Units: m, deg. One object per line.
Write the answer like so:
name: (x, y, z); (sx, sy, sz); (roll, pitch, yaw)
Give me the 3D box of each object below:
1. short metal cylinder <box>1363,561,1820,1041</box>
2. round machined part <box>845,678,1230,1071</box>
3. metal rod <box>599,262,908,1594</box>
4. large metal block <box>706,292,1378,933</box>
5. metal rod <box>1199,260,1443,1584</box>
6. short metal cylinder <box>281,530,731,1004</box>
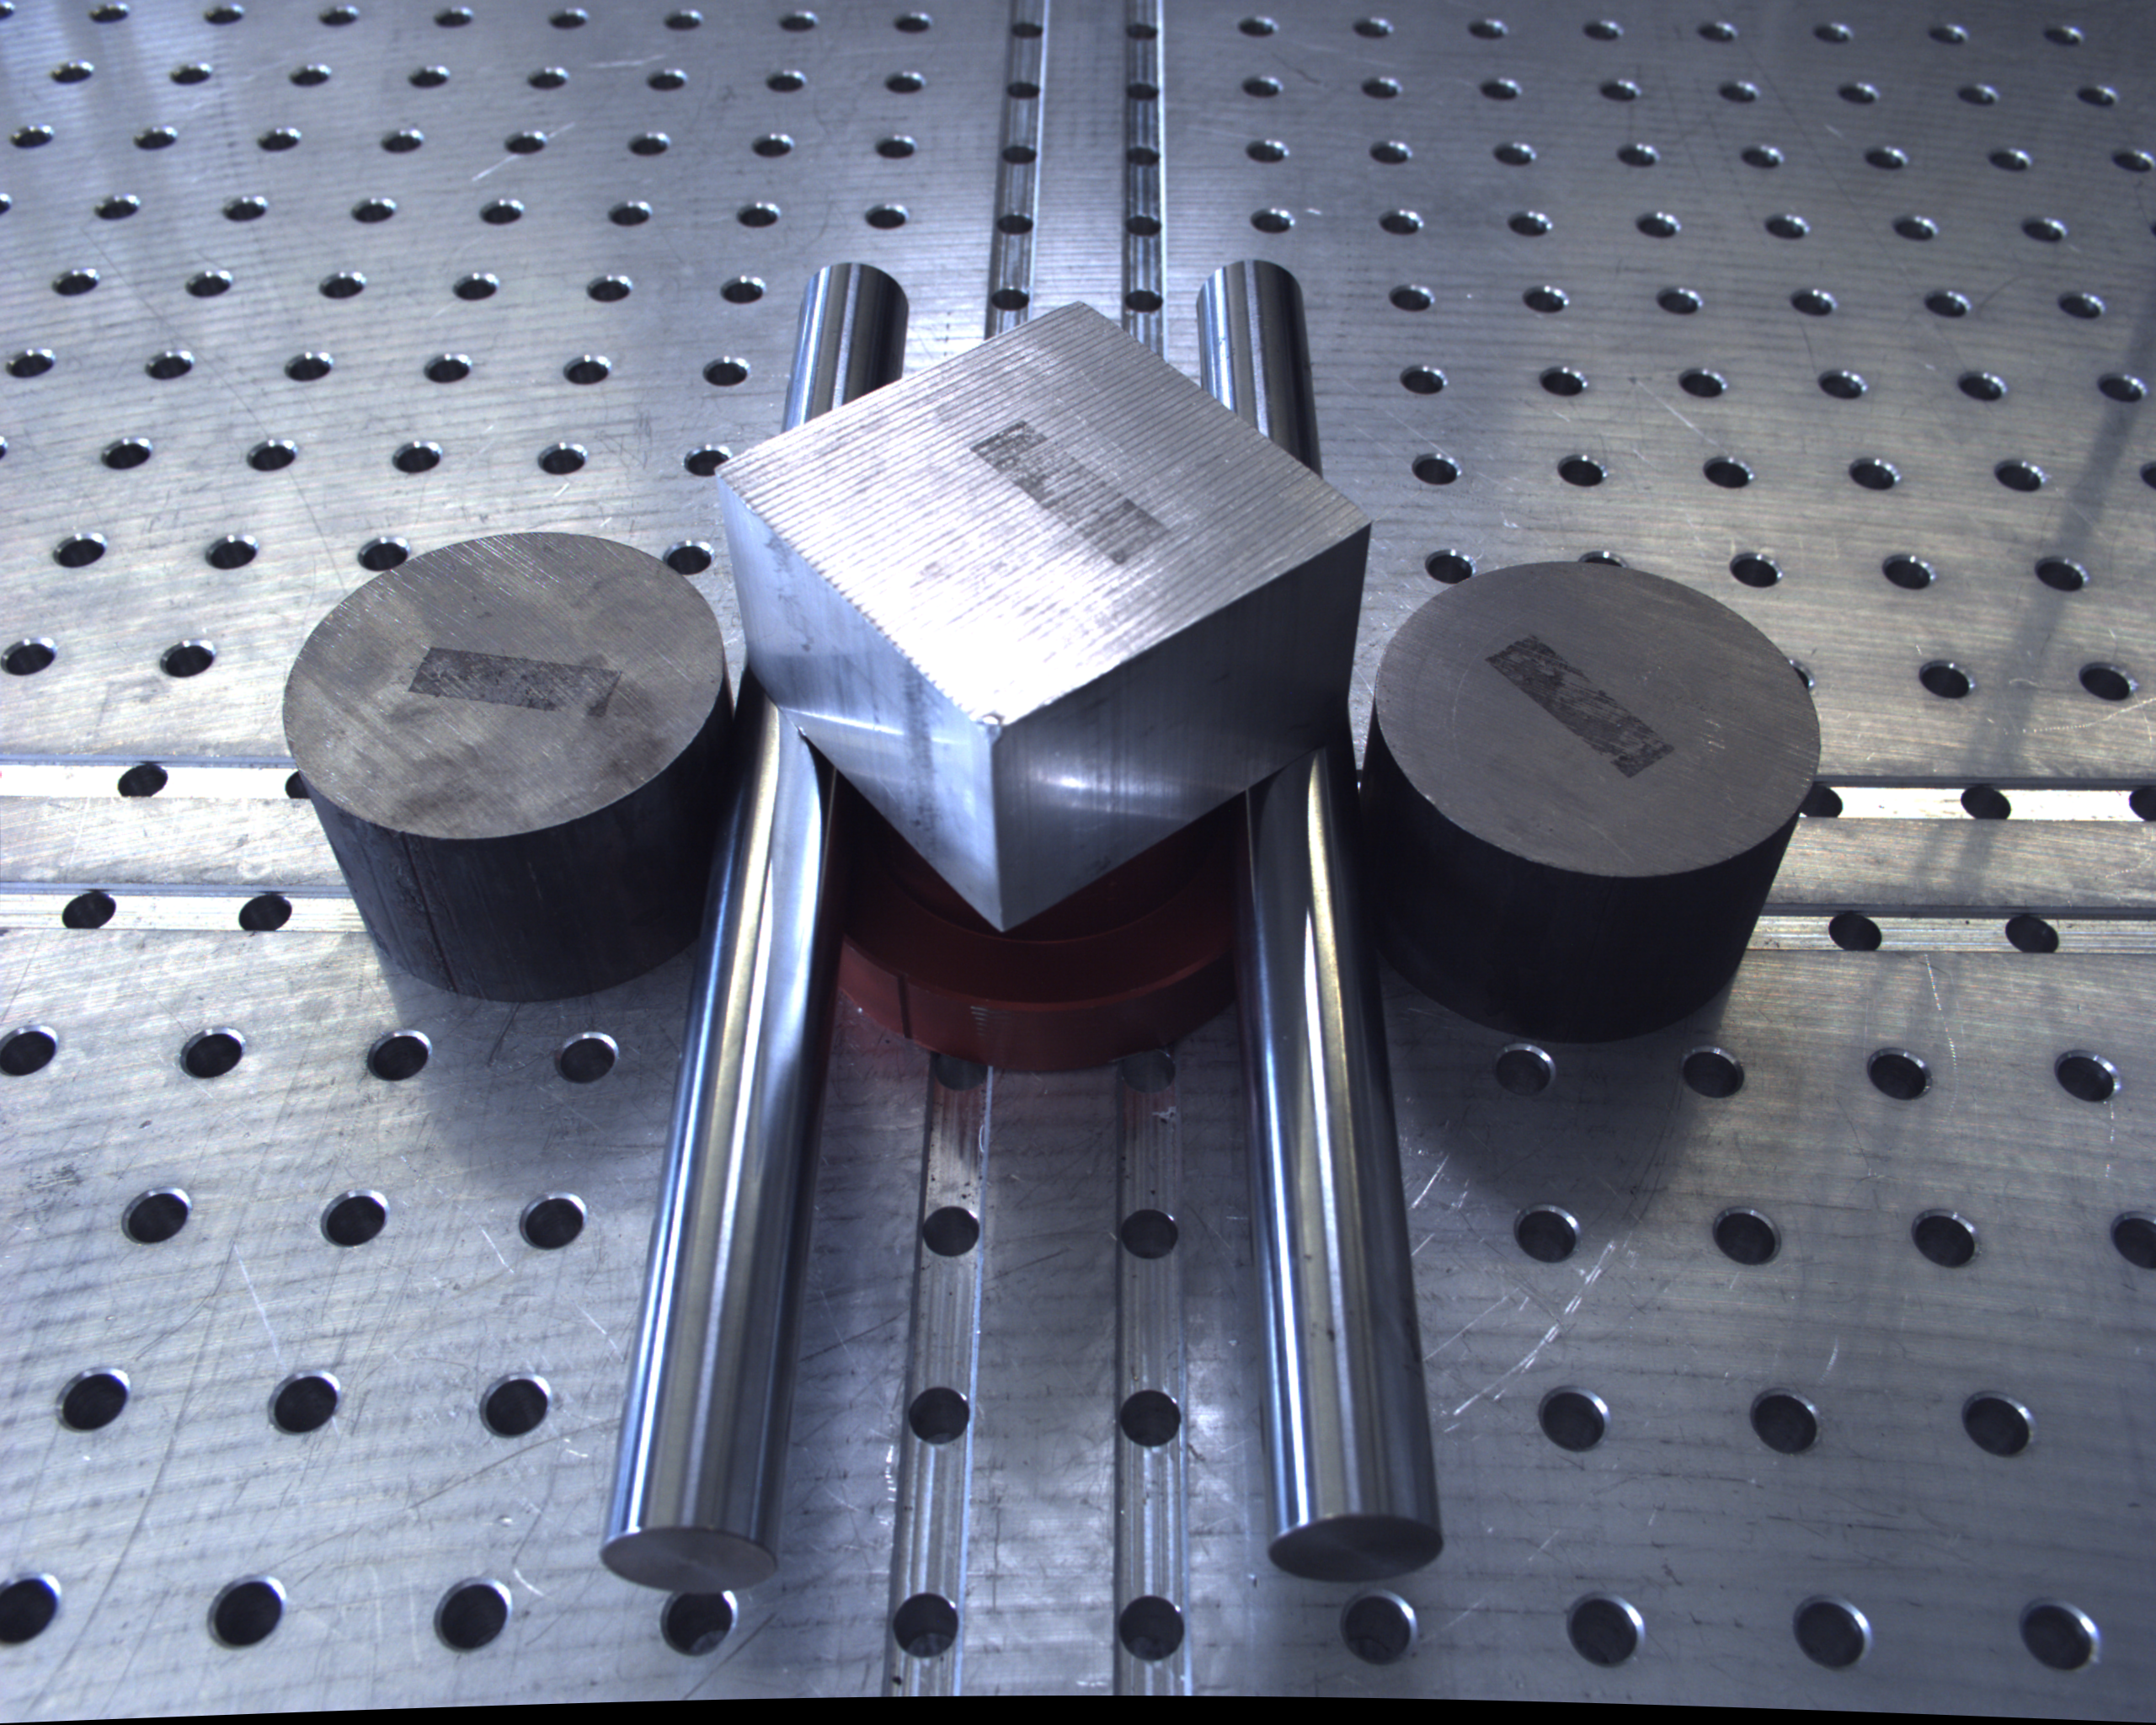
short metal cylinder: (0.095, -0.013, 0.402); (0.080, 0.050, 0.080); (0, 50, 0)
round machined part: (-0.007, -0.011, 0.406); (0.099, 0.042, 0.098); (0, 50, 0)
metal rod: (-0.054, -0.015, 0.393); (0.025, 0.025, 0.300); (0, 50, 0)
large metal block: (-0.007, -0.047, 0.369); (0.081, 0.050, 0.080); (-31, 57, -24)
metal rod: (0.040, -0.016, 0.394); (0.025, 0.025, 0.300); (0, 50, 0)
short metal cylinder: (-0.107, -0.019, 0.407); (0.080, 0.050, 0.080); (0, 50, 0)
